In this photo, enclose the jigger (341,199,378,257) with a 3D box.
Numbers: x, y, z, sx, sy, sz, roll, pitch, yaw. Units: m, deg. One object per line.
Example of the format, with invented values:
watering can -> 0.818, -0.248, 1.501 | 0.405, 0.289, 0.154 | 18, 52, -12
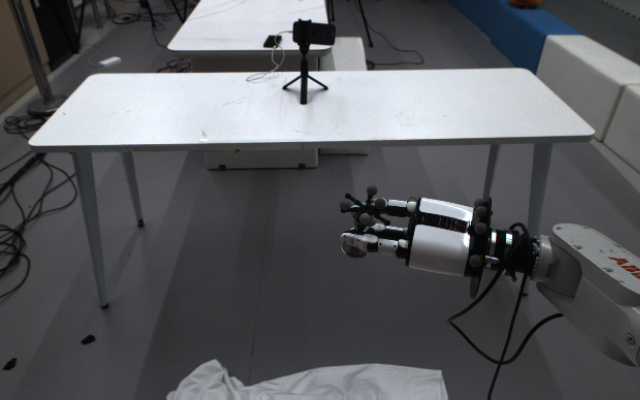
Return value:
jigger -> 0.062, 0.054, 0.783 | 0.043, 0.071, 0.043 | 10, 35, -7
